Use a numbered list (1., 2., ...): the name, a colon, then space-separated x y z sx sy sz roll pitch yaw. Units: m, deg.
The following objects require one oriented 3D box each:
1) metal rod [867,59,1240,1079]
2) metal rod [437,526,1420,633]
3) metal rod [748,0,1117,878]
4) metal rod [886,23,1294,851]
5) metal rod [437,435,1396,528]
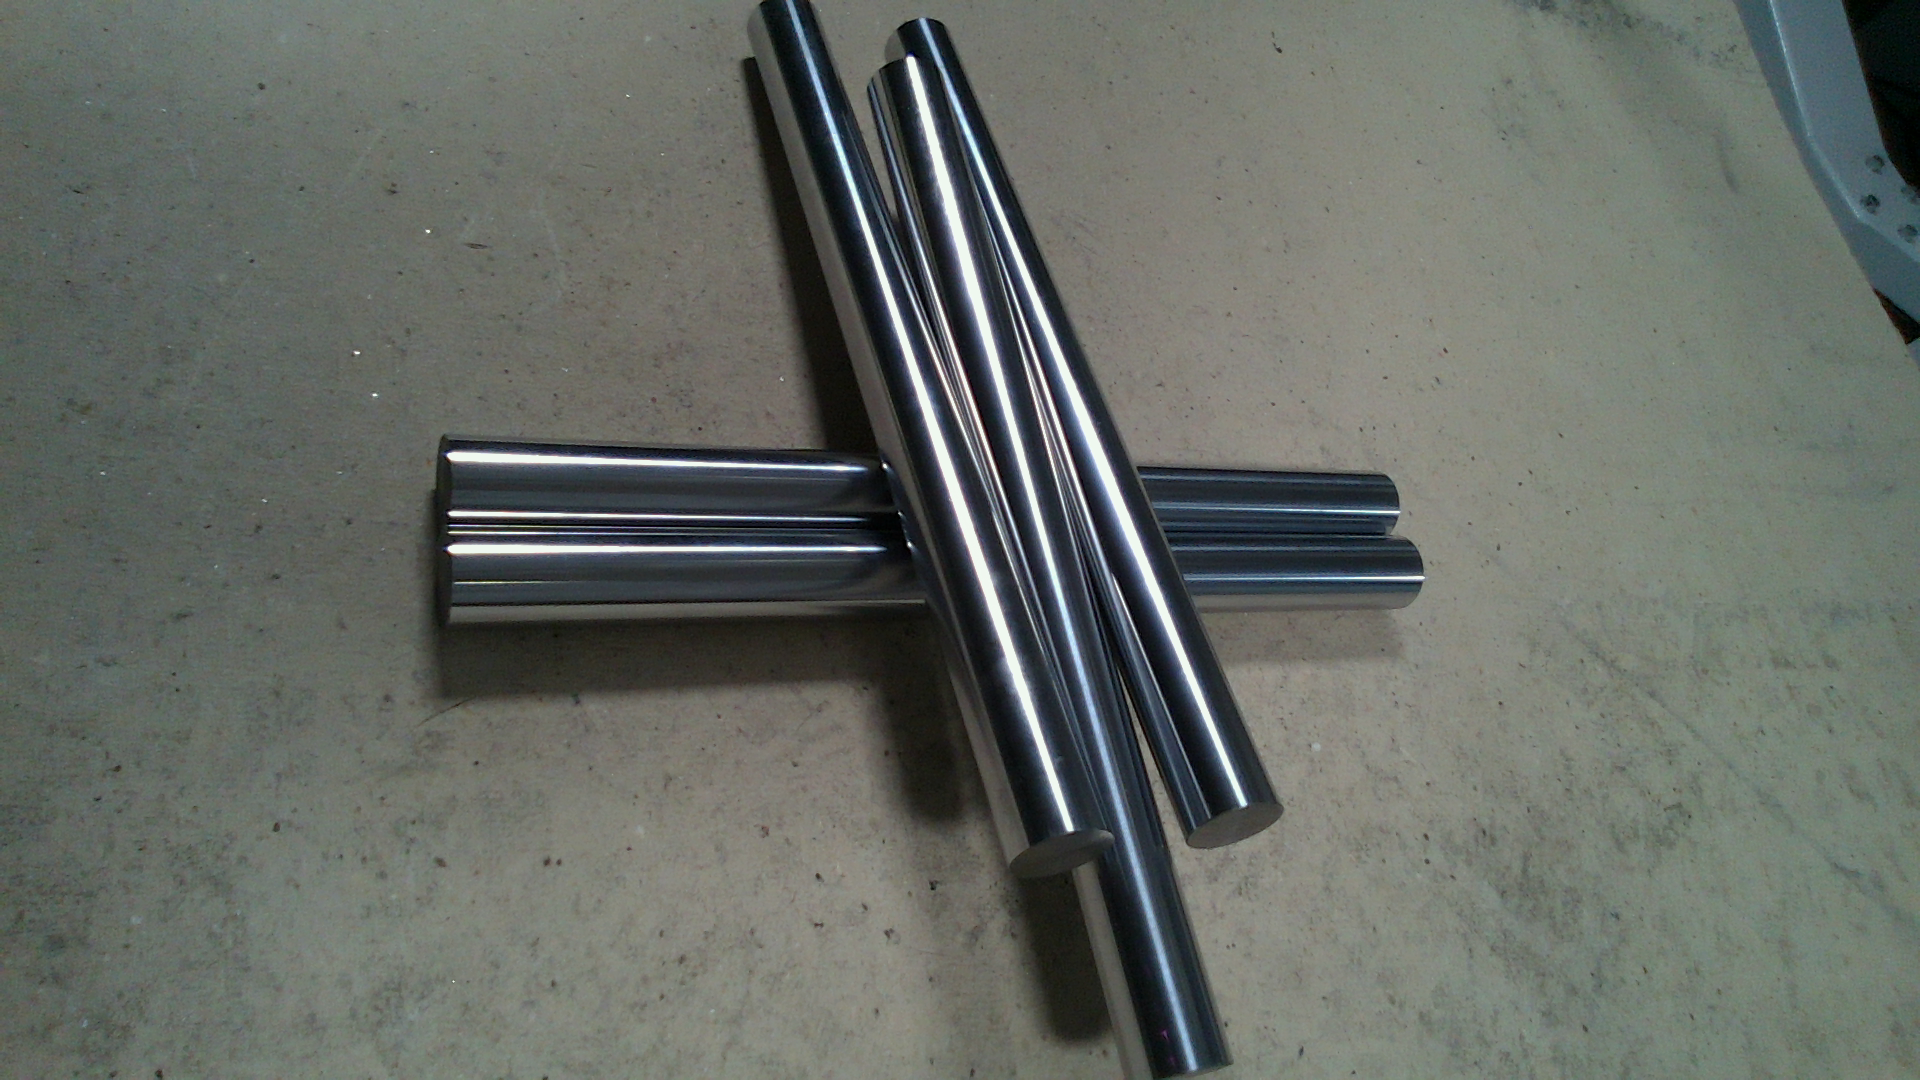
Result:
1. metal rod: 0.017 -0.011 0.373 0.025 0.025 0.300 0 61 -28
2. metal rod: 0.012 0.010 0.391 0.301 0.025 0.025 0 61 -28
3. metal rod: -0.018 -0.051 0.384 0.025 0.025 0.300 0 53 -28
4. metal rod: 0.027 -0.052 0.408 0.025 0.025 0.300 0 53 -28
5. metal rod: 0.008 -0.012 0.403 0.301 0.025 0.025 0 61 -28
